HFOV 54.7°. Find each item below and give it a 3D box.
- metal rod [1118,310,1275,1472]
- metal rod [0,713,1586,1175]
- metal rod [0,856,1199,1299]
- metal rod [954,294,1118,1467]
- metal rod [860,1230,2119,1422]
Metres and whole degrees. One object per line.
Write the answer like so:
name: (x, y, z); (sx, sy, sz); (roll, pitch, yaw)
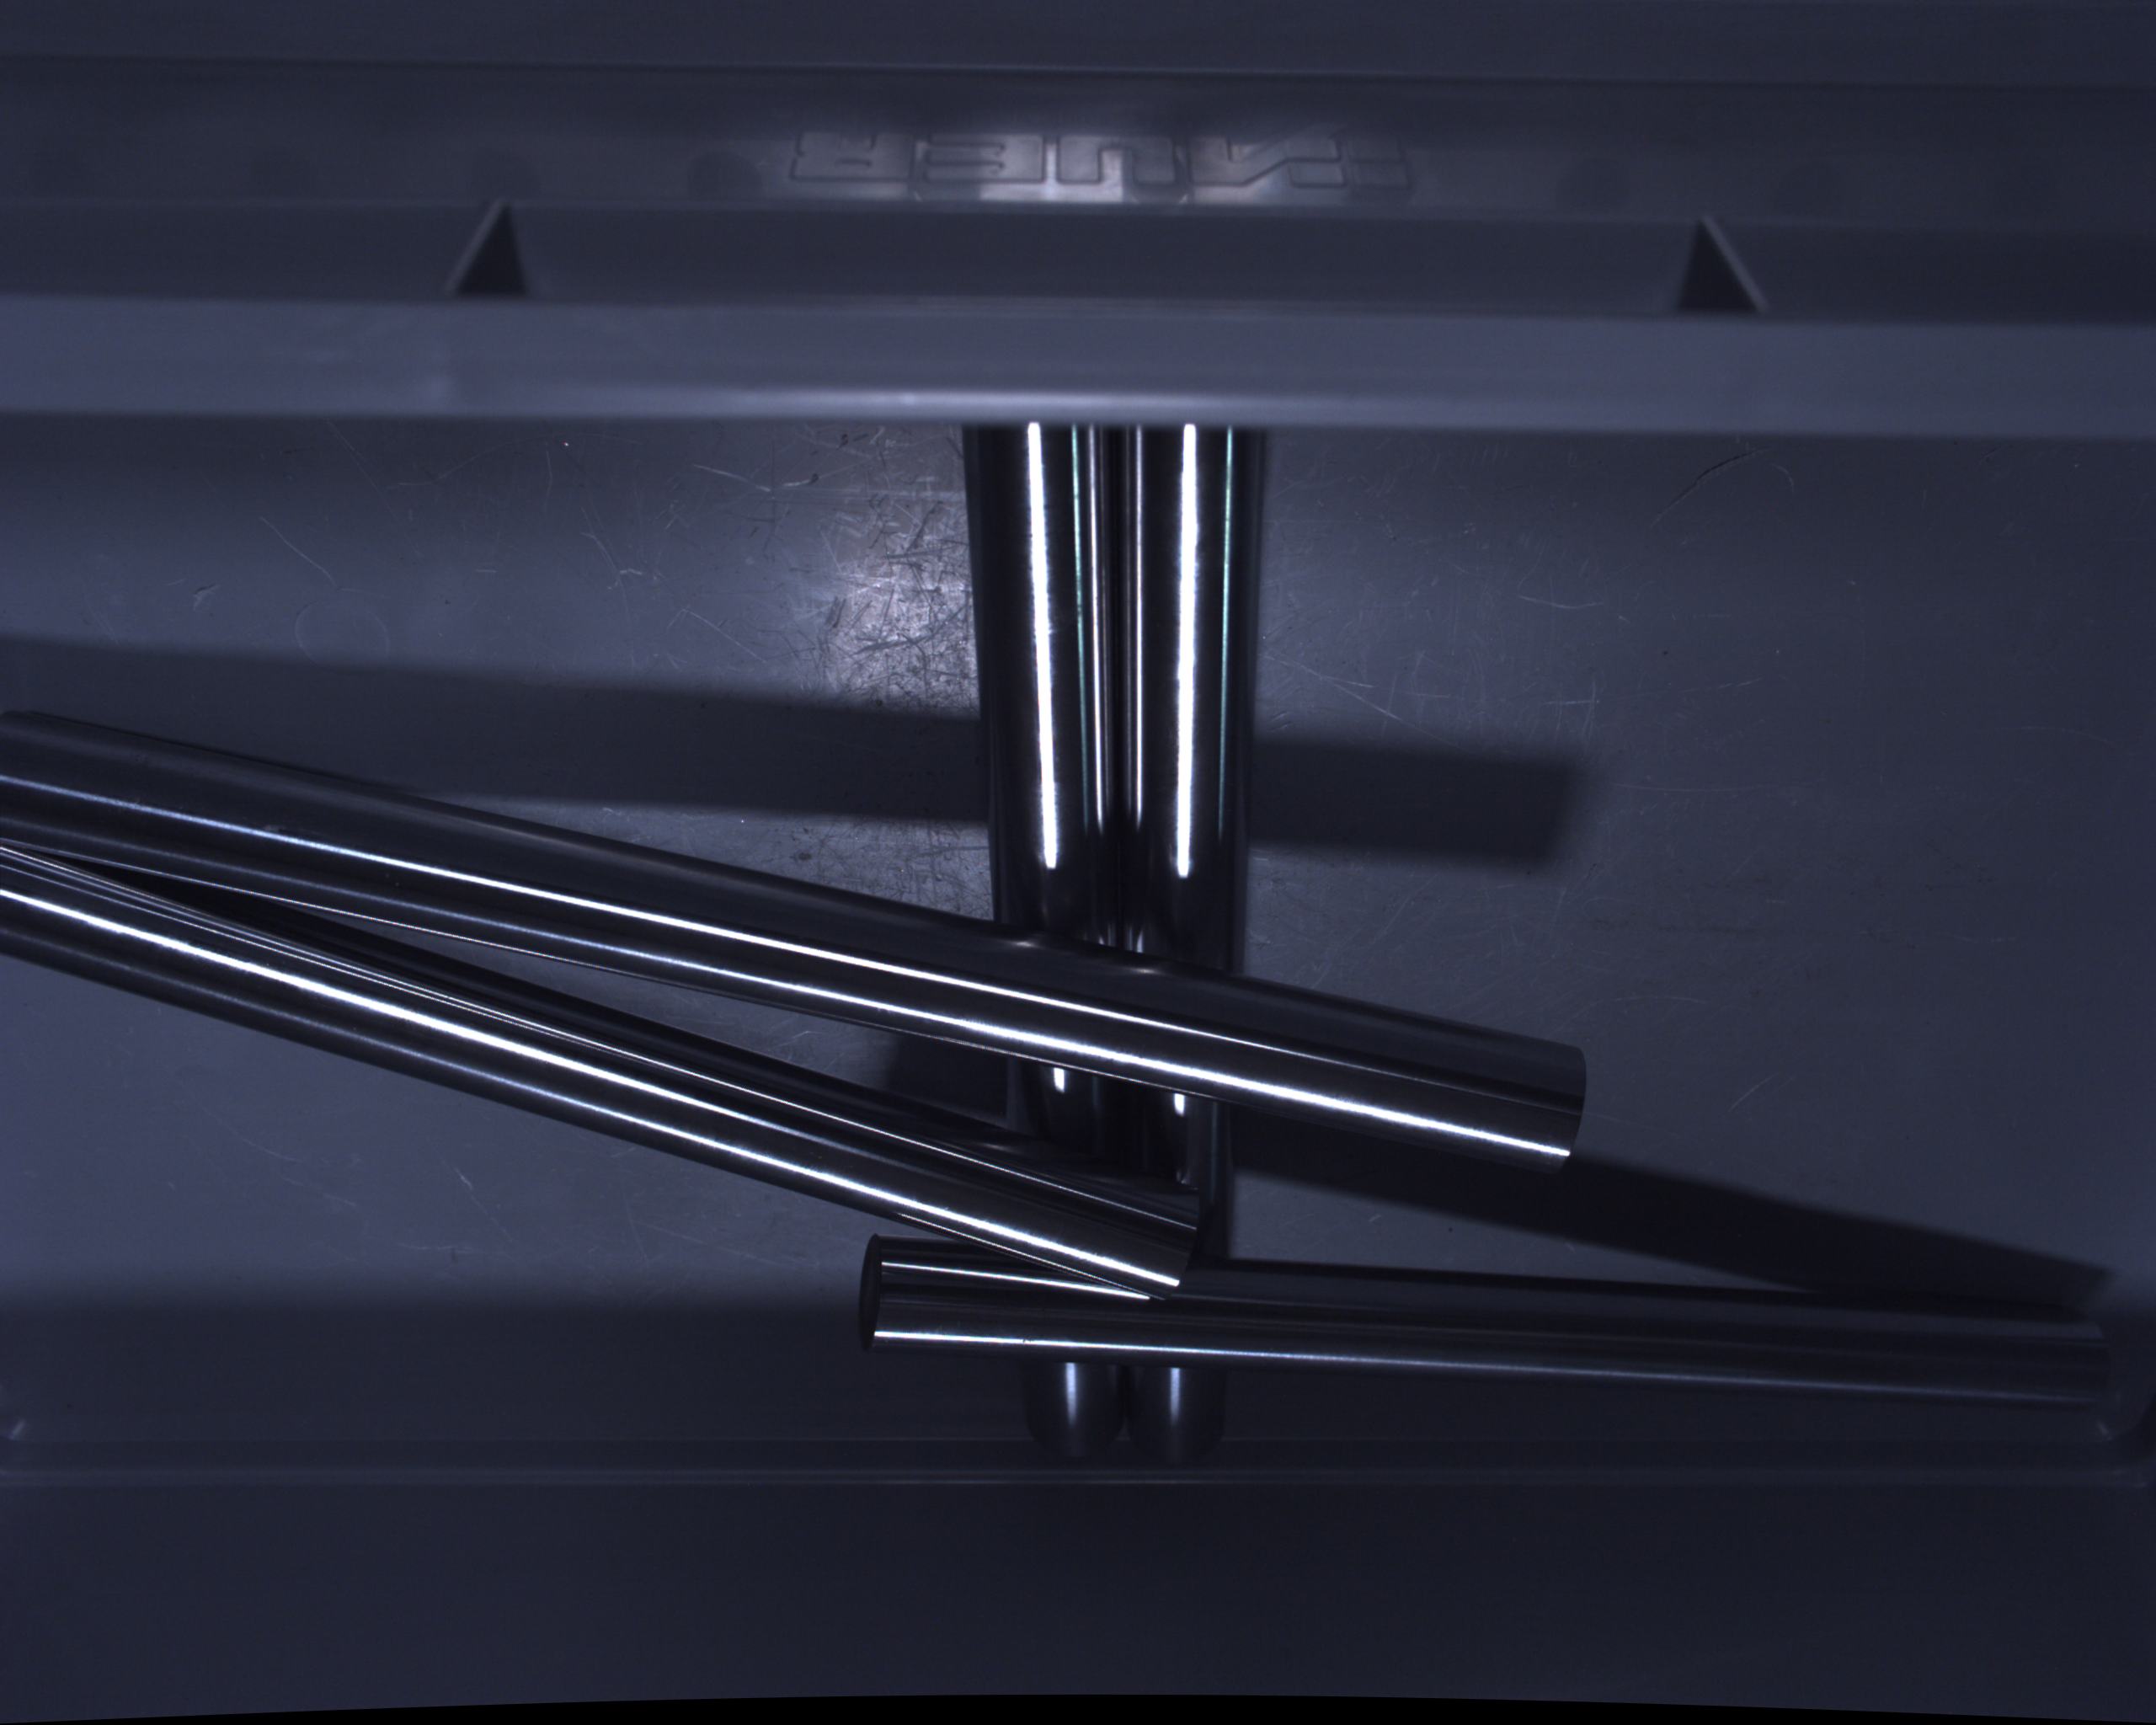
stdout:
metal rod: (0.021, 0.030, 0.431); (0.025, 0.025, 0.298); (-1, 130, 0)
metal rod: (-0.055, 0.016, 0.394); (0.302, 0.025, 0.025); (12, 129, -2)
metal rod: (-0.121, 0.033, 0.417); (0.302, 0.025, 0.025); (18, 128, -9)
metal rod: (-0.005, 0.028, 0.429); (0.025, 0.025, 0.298); (-1, 130, 0)
metal rod: (0.102, 0.108, 0.478); (0.302, 0.025, 0.025); (7, 130, -14)
